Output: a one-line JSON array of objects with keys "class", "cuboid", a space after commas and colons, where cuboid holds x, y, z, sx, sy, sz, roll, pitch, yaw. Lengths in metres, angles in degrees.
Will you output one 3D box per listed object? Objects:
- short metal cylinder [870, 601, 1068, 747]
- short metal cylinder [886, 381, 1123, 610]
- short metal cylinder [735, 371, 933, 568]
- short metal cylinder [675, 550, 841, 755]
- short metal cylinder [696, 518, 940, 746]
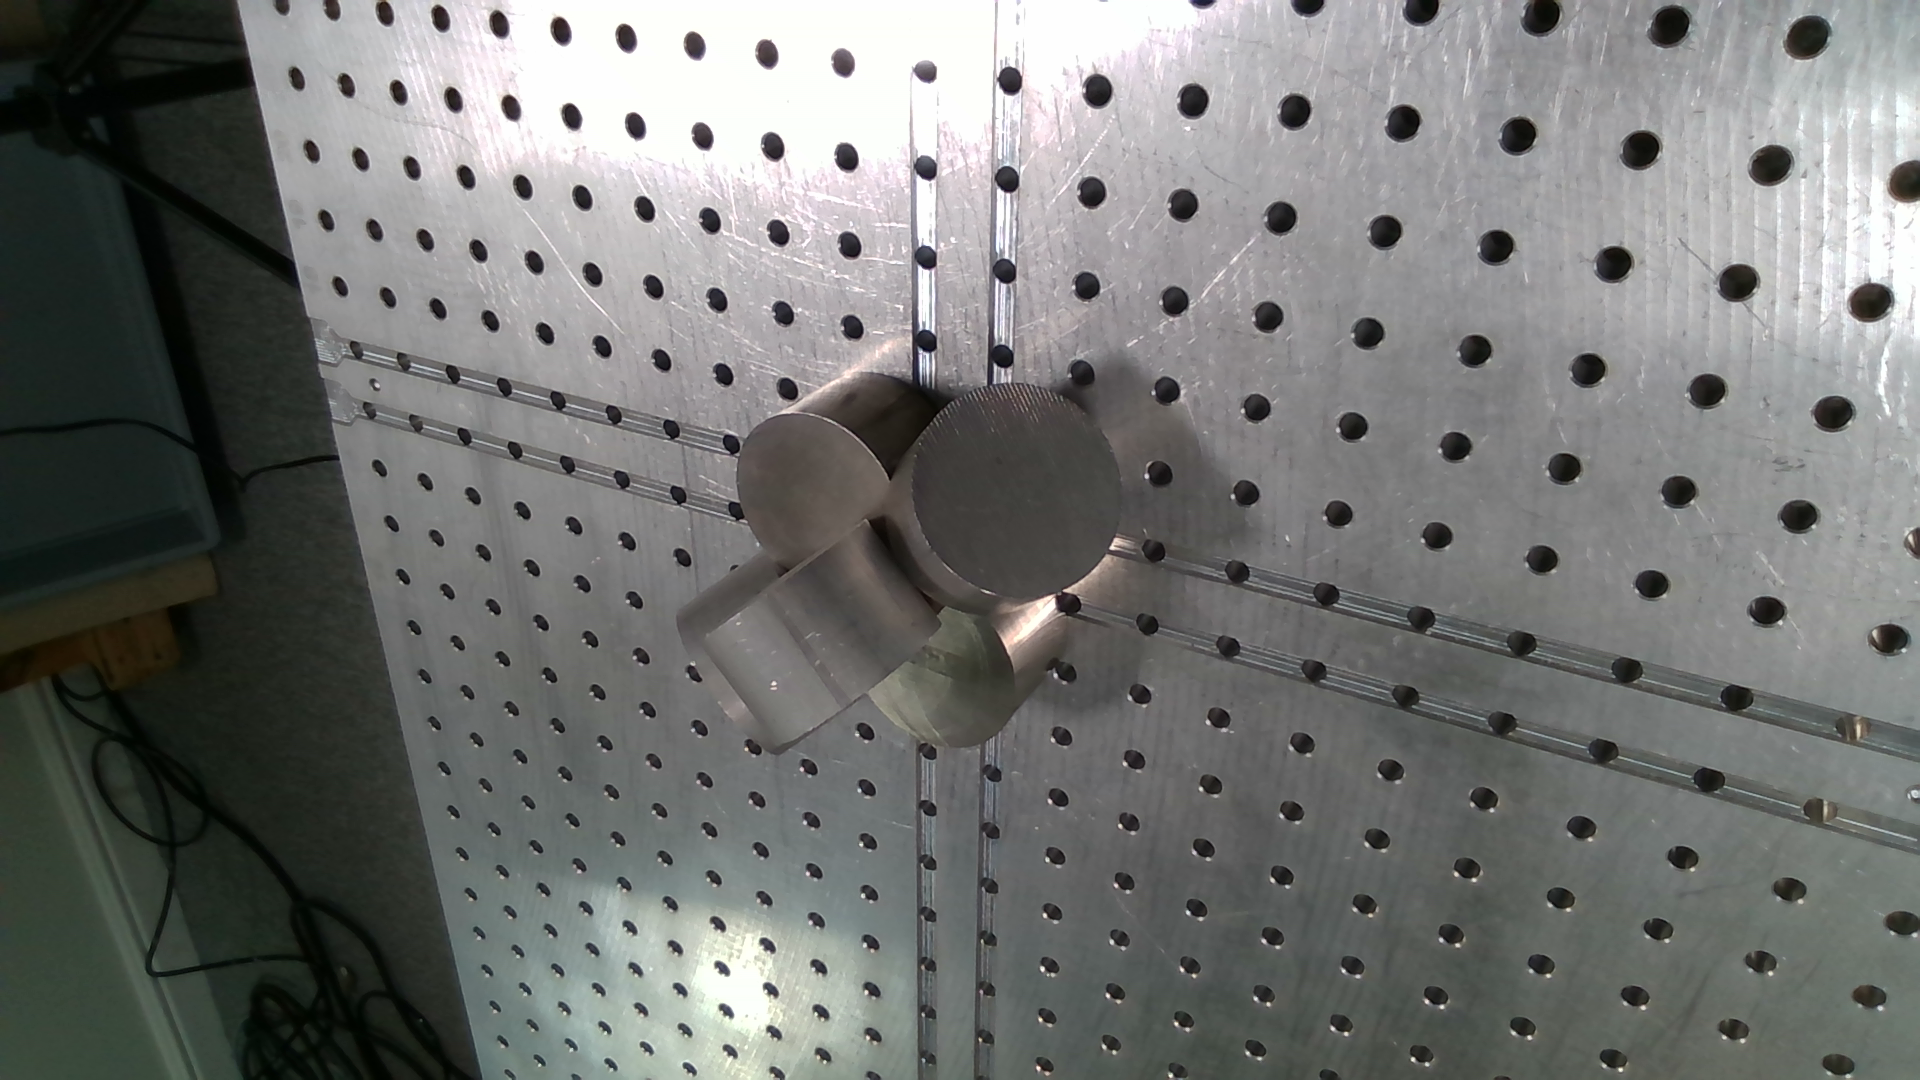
[{"class": "short metal cylinder", "cuboid": [-0.001, 0.041, 0.589, 0.080, 0.050, 0.080, 14, 122, 25]}, {"class": "short metal cylinder", "cuboid": [0.015, -0.014, 0.521, 0.080, 0.080, 0.050, 50, 163, -2]}, {"class": "short metal cylinder", "cuboid": [-0.047, -0.025, 0.581, 0.080, 0.050, 0.080, 14, 122, 25]}, {"class": "short metal cylinder", "cuboid": [-0.082, 0.048, 0.615, 0.050, 0.080, 0.080, -35, 95, 4]}, {"class": "short metal cylinder", "cuboid": [-0.054, 0.035, 0.534, 0.080, 0.080, 0.050, -32, 96, 39]}]
